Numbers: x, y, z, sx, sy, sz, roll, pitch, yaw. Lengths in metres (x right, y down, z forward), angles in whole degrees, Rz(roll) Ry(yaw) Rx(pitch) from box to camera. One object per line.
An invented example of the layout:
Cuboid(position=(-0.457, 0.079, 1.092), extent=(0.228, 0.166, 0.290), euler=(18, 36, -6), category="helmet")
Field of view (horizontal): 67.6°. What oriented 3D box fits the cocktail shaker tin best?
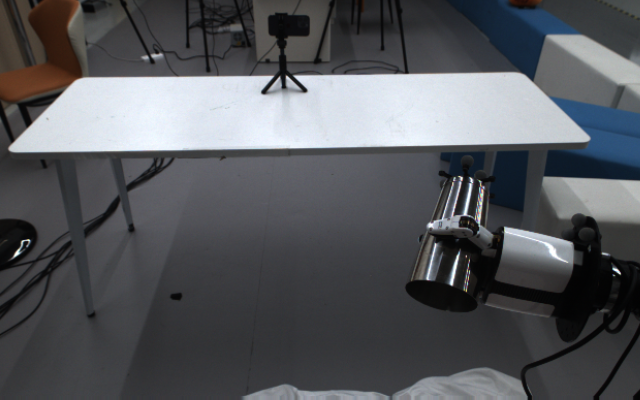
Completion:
Cuboid(position=(0.180, 0.054, 0.653), extent=(0.093, 0.093, 0.170), euler=(14, 61, 17), category="cocktail shaker tin")
